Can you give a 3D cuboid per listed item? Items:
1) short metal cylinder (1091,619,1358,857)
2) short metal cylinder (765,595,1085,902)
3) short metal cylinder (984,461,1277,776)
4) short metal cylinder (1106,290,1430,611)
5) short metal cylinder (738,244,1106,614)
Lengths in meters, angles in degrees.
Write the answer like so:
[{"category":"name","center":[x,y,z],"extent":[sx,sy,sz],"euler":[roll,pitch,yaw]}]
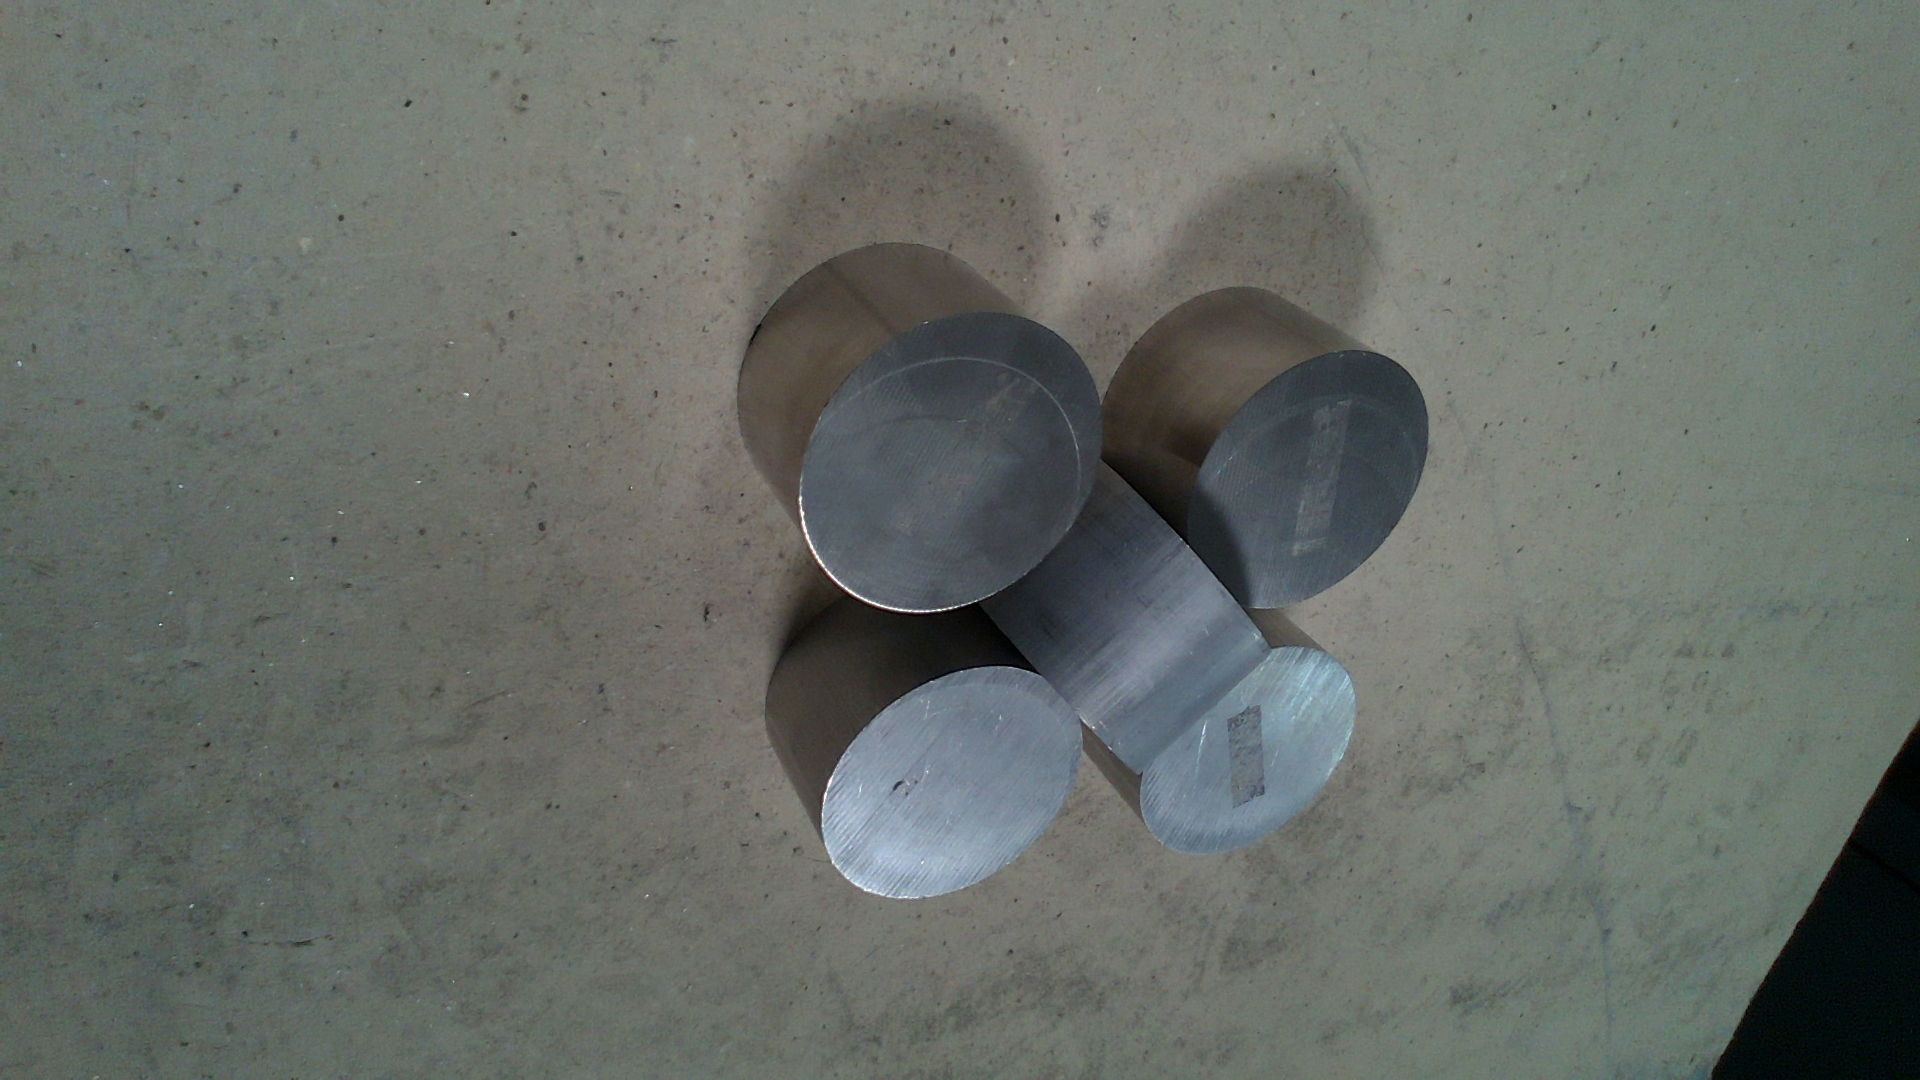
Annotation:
[{"category":"short metal cylinder","center":[0.082,0.056,0.450],"extent":[0.080,0.050,0.080],"euler":[-14,124,-21]},{"category":"short metal cylinder","center":[-0.011,0.057,0.401],"extent":[0.080,0.050,0.080],"euler":[-14,124,-21]},{"category":"short metal cylinder","center":[0.043,0.020,0.390],"extent":[0.050,0.080,0.080],"euler":[-43,129,1]},{"category":"short metal cylinder","center":[0.088,-0.026,0.402],"extent":[0.080,0.050,0.080],"euler":[-14,124,-21]},{"category":"short metal cylinder","center":[-0.010,-0.028,0.349],"extent":[0.080,0.050,0.080],"euler":[-14,124,-21]}]
